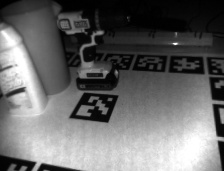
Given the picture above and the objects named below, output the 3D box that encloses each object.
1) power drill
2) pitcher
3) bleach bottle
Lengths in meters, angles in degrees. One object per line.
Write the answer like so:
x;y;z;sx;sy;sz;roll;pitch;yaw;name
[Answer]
-0.044;-0.110;0.566;0.184;0.188;0.057;5;44;8;power drill
-0.211;-0.118;0.591;0.189;0.244;0.132;-13;41;-4;pitcher
-0.252;-0.070;0.508;0.102;0.253;0.068;-1;40;11;bleach bottle
